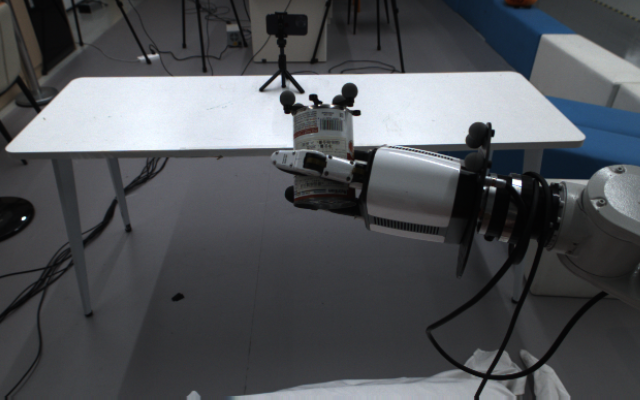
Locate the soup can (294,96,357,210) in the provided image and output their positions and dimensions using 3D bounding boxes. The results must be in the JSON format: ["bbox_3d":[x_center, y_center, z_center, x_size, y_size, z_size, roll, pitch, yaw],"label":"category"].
[{"bbox_3d":[0.006,-0.044,0.523,0.067,0.101,0.067,-1,-9,0],"label":"soup can"}]
